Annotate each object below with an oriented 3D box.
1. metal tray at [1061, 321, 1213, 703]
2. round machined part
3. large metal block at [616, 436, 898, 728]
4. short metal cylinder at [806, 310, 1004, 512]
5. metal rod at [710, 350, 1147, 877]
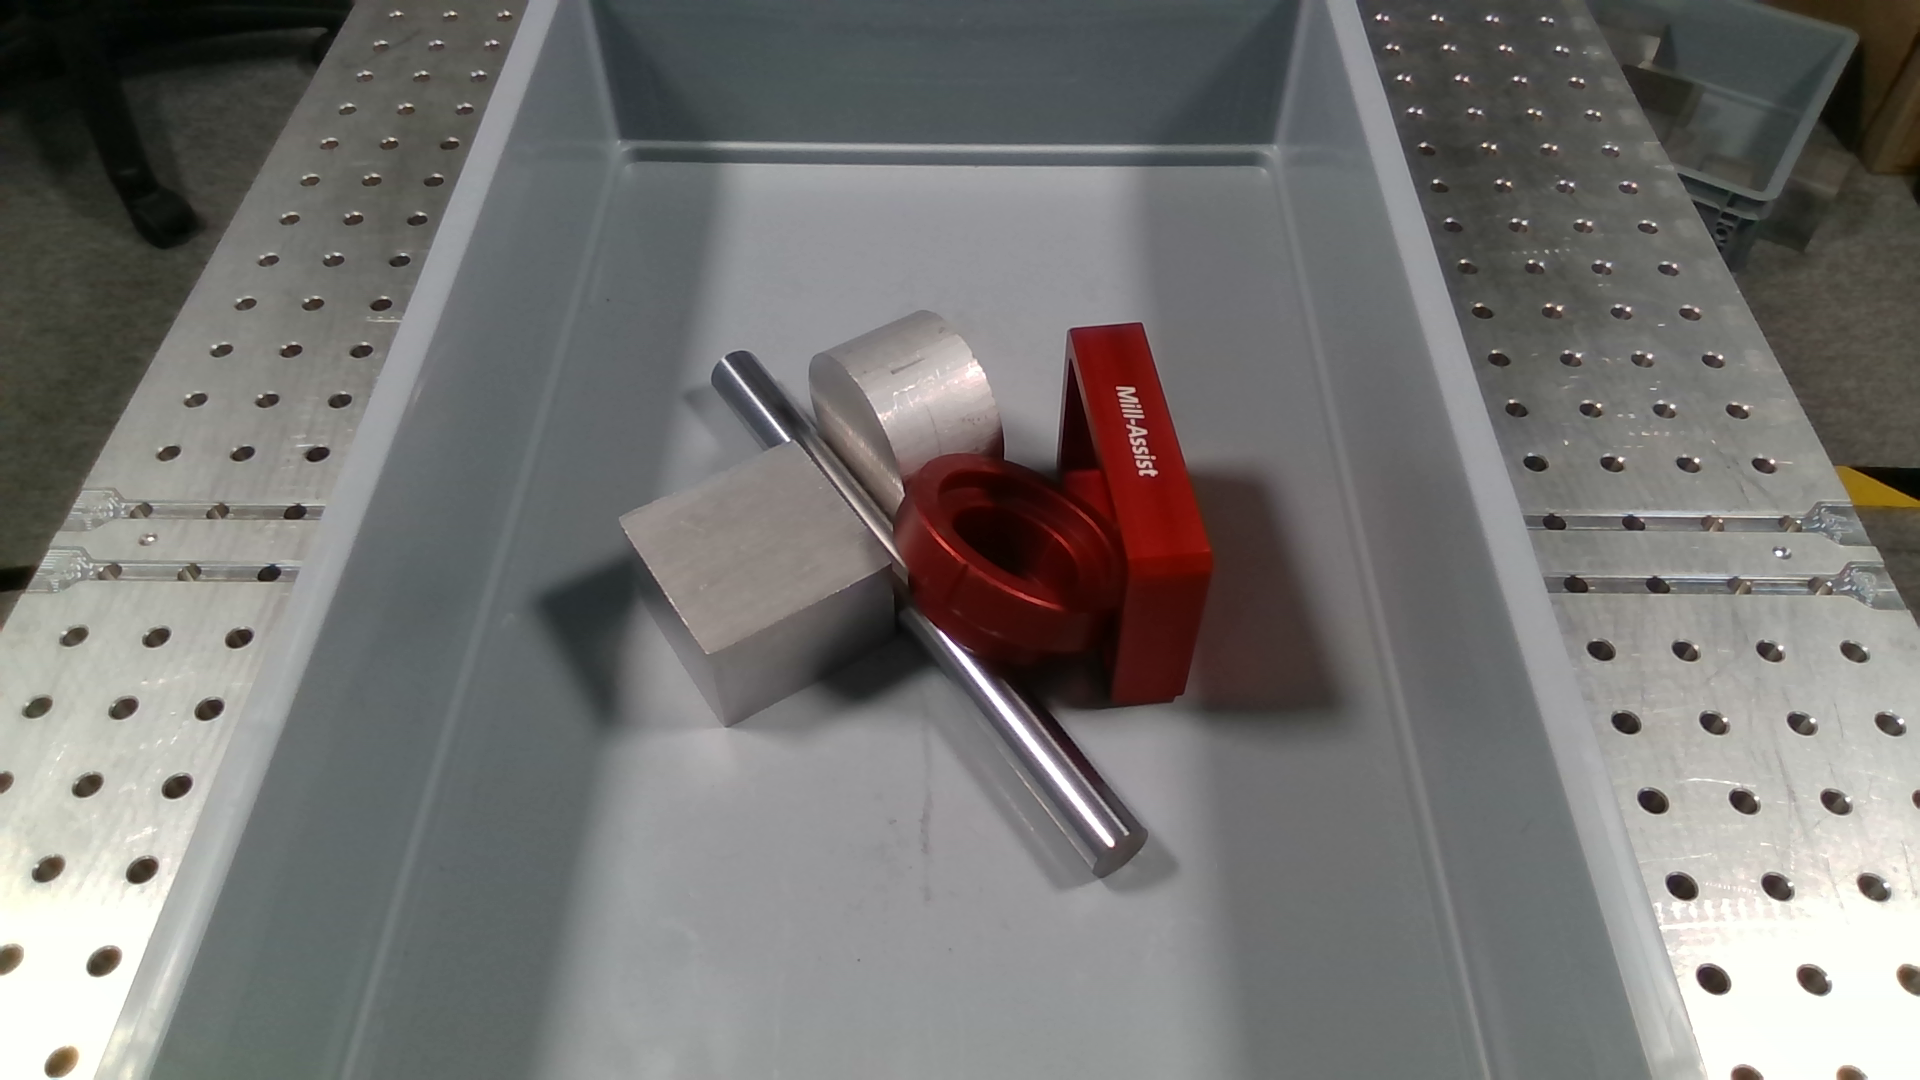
[{"bbox_3d":[0.066,-0.013,0.552,0.030,0.090,0.130,-5,51,-4],"label":"metal tray"},{"bbox_3d":[0.018,0.011,0.547,0.098,0.042,0.098,21,31,-13],"label":"round machined part"},{"bbox_3d":[-0.081,0.015,0.555,0.080,0.050,0.080,-27,55,-20],"label":"large metal block"},{"bbox_3d":[-0.024,-0.052,0.594,0.050,0.080,0.080,-27,55,-21],"label":"short metal cylinder"},{"bbox_3d":[-0.025,0.016,0.572,0.025,0.025,0.299,-27,55,-21],"label":"metal rod"}]
